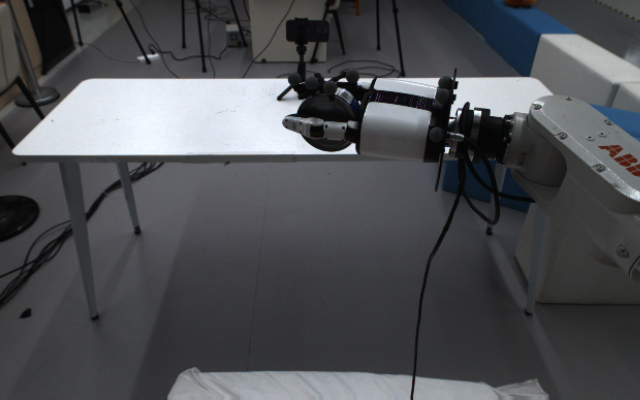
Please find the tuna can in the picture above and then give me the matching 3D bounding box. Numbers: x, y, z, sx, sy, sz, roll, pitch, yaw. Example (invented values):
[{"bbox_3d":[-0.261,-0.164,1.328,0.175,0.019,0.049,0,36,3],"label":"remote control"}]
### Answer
[{"bbox_3d":[0.014,-0.111,0.658,0.085,0.085,0.034,11,38,13],"label":"tuna can"}]
